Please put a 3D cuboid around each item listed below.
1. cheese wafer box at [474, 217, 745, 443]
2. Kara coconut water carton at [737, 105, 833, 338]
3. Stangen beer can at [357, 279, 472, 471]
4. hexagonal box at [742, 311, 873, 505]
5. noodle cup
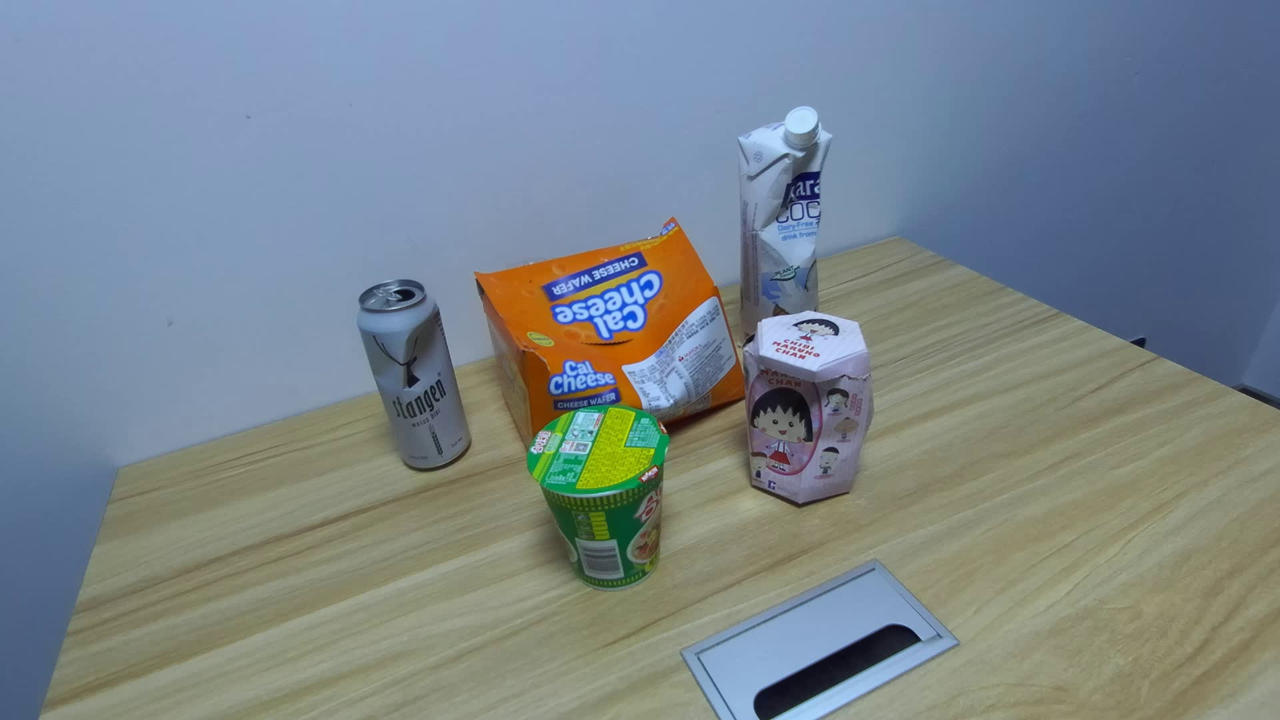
[{"bbox_3d":[-0.021,-0.019,0.672,0.219,0.145,0.190,-17,33,-17],"label":"cheese wafer box"},{"bbox_3d":[0.138,-0.120,0.698,0.083,0.256,0.078,-17,34,-18],"label":"Kara coconut water carton"},{"bbox_3d":[-0.200,0.015,0.631,0.070,0.173,0.069,-17,33,-18],"label":"Stangen beer can"},{"bbox_3d":[0.131,0.037,0.566,0.090,0.135,0.091,-9,31,-9],"label":"hexagonal box"},{"bbox_3d":[-0.024,0.105,0.510,0.097,0.110,0.097,-5,32,3],"label":"noodle cup"}]
